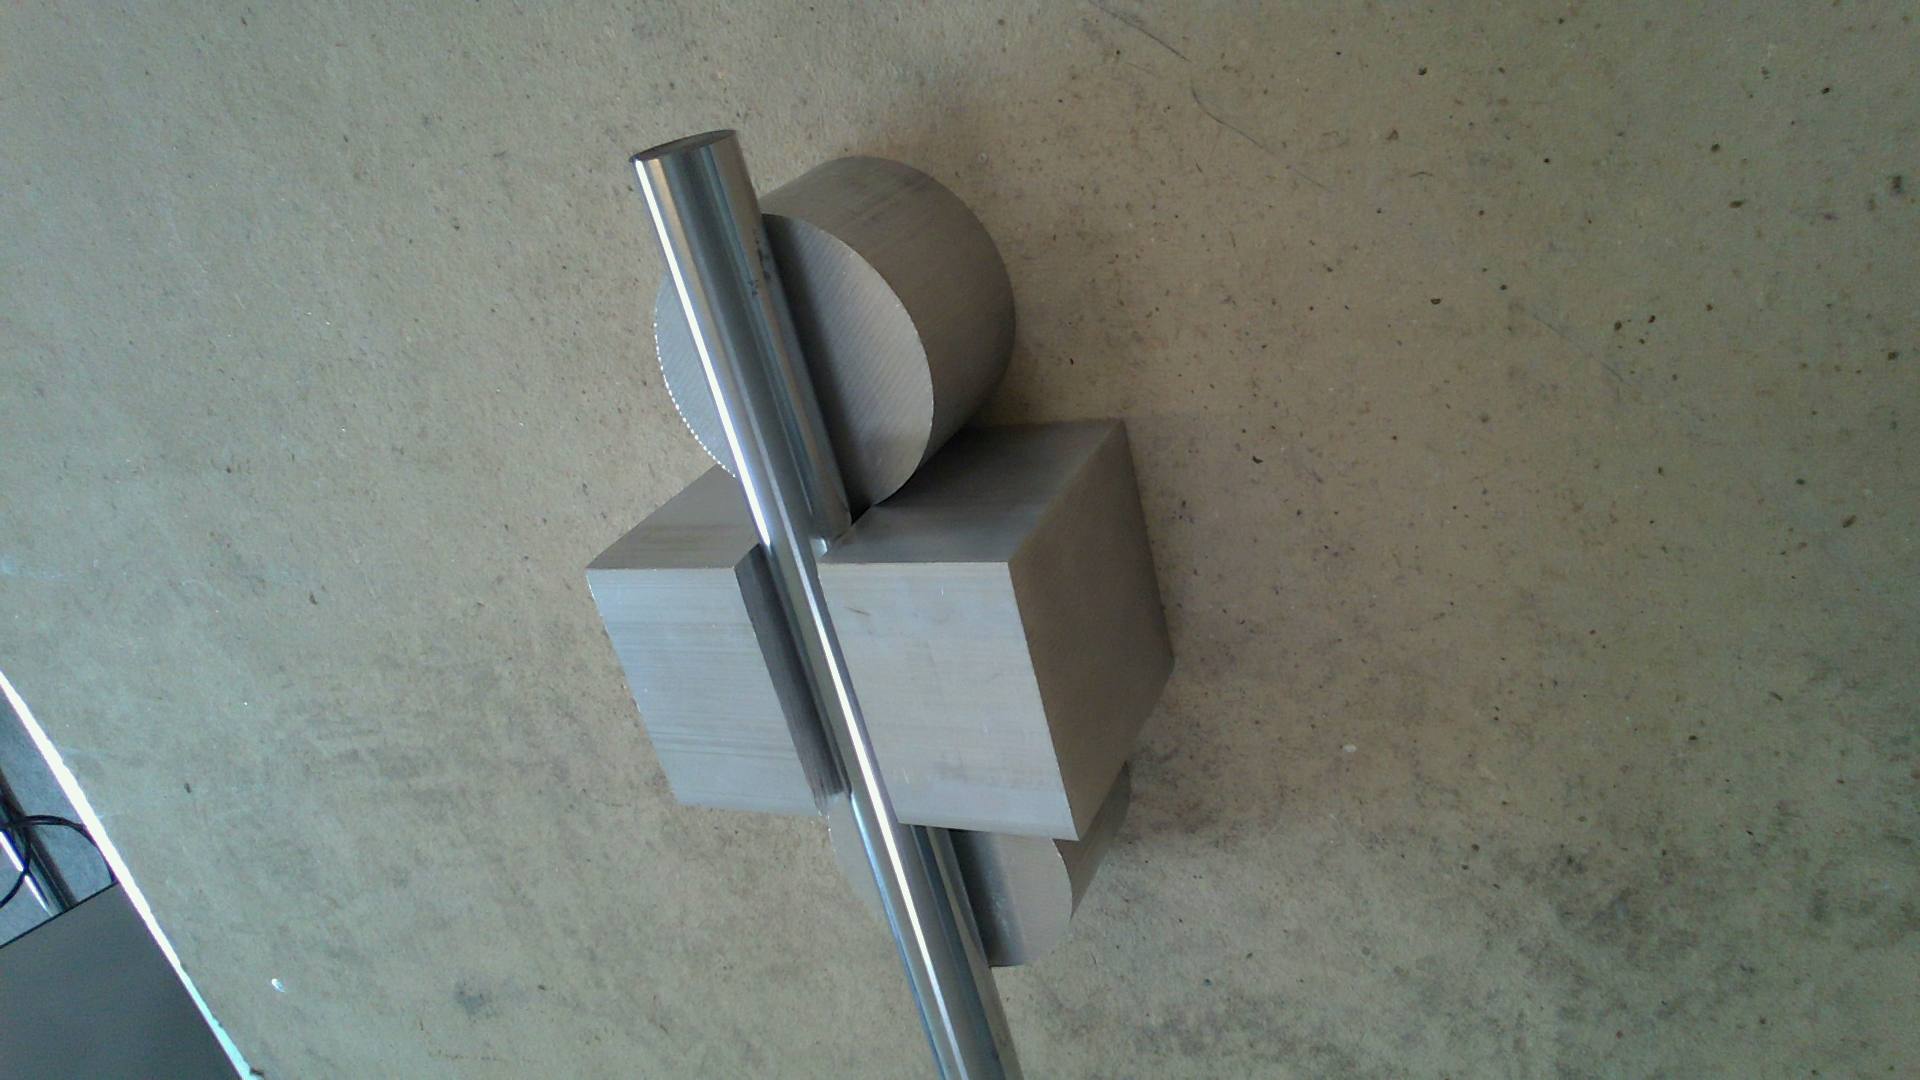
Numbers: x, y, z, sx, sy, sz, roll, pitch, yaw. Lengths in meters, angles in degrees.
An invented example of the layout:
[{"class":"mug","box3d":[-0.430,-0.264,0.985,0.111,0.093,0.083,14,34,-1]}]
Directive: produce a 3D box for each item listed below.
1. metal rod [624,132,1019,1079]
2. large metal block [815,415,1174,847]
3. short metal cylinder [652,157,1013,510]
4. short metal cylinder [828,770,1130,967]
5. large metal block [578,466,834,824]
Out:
[{"class":"metal rod","box3d":[-0.027,0.044,0.369,0.025,0.025,0.300,-1,118,29]},{"class":"large metal block","box3d":[0.014,0.021,0.363,0.050,0.080,0.080,-1,118,29]},{"class":"short metal cylinder","box3d":[-0.033,-0.054,0.361,0.080,0.050,0.080,13,124,21]},{"class":"short metal cylinder","box3d":[0.006,0.084,0.426,0.080,0.050,0.080,13,124,21]},{"class":"large metal block","box3d":[-0.053,0.023,0.400,0.050,0.080,0.080,-1,118,29]}]
